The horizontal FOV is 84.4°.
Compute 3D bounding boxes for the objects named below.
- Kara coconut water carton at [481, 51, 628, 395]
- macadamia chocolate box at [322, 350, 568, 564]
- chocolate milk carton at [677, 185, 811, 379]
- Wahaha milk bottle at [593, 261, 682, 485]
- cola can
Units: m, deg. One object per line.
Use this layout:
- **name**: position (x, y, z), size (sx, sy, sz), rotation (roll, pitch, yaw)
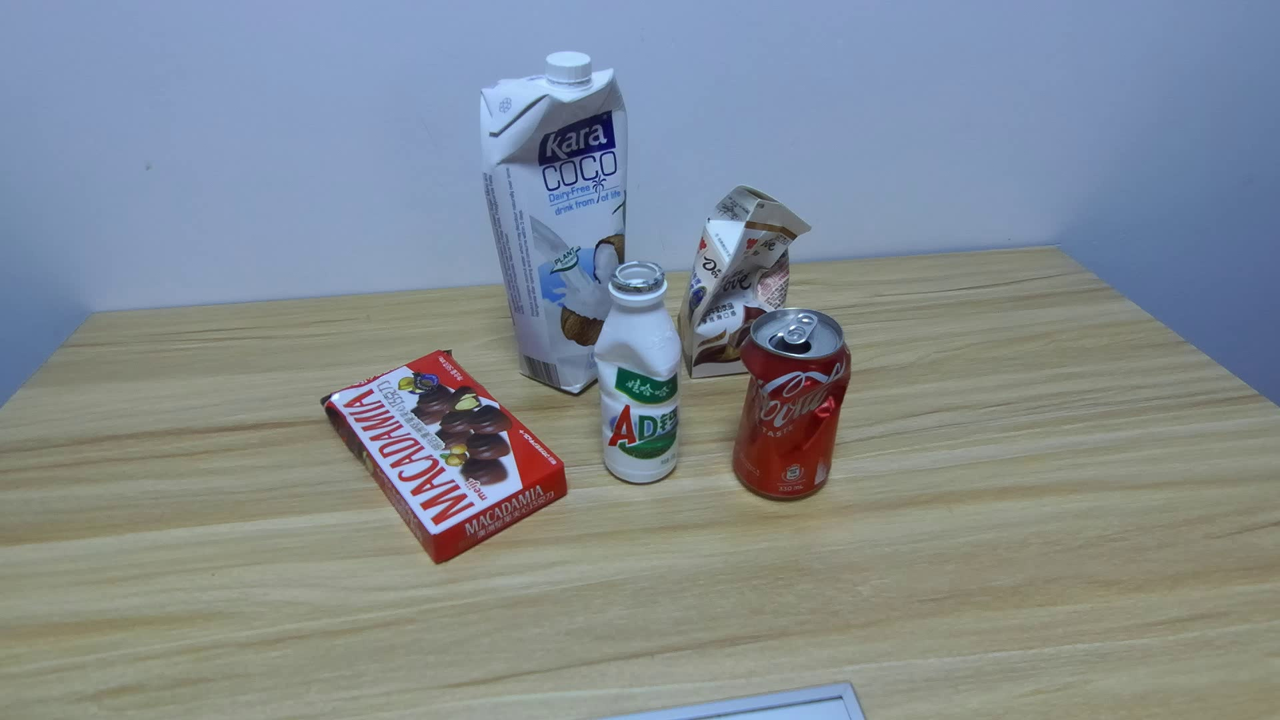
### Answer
- **Kara coconut water carton**: position (-0.056, -0.095, 0.517), size (0.069, 0.239, 0.115), rotation (22, 39, 31)
- **macadamia chocolate box**: position (-0.139, 0.055, 0.494), size (0.106, 0.028, 0.182), rotation (-26, 42, -31)
- **chocolate milk carton**: position (0.081, -0.064, 0.550), size (0.089, 0.155, 0.076), rotation (4, 39, -17)
- **Wahaha milk bottle**: position (-0.001, 0.010, 0.443), size (0.056, 0.148, 0.056), rotation (0, 37, 0)
- **cola can**: position (0.094, 0.027, 0.446), size (0.066, 0.117, 0.066), rotation (-8, 35, -10)
